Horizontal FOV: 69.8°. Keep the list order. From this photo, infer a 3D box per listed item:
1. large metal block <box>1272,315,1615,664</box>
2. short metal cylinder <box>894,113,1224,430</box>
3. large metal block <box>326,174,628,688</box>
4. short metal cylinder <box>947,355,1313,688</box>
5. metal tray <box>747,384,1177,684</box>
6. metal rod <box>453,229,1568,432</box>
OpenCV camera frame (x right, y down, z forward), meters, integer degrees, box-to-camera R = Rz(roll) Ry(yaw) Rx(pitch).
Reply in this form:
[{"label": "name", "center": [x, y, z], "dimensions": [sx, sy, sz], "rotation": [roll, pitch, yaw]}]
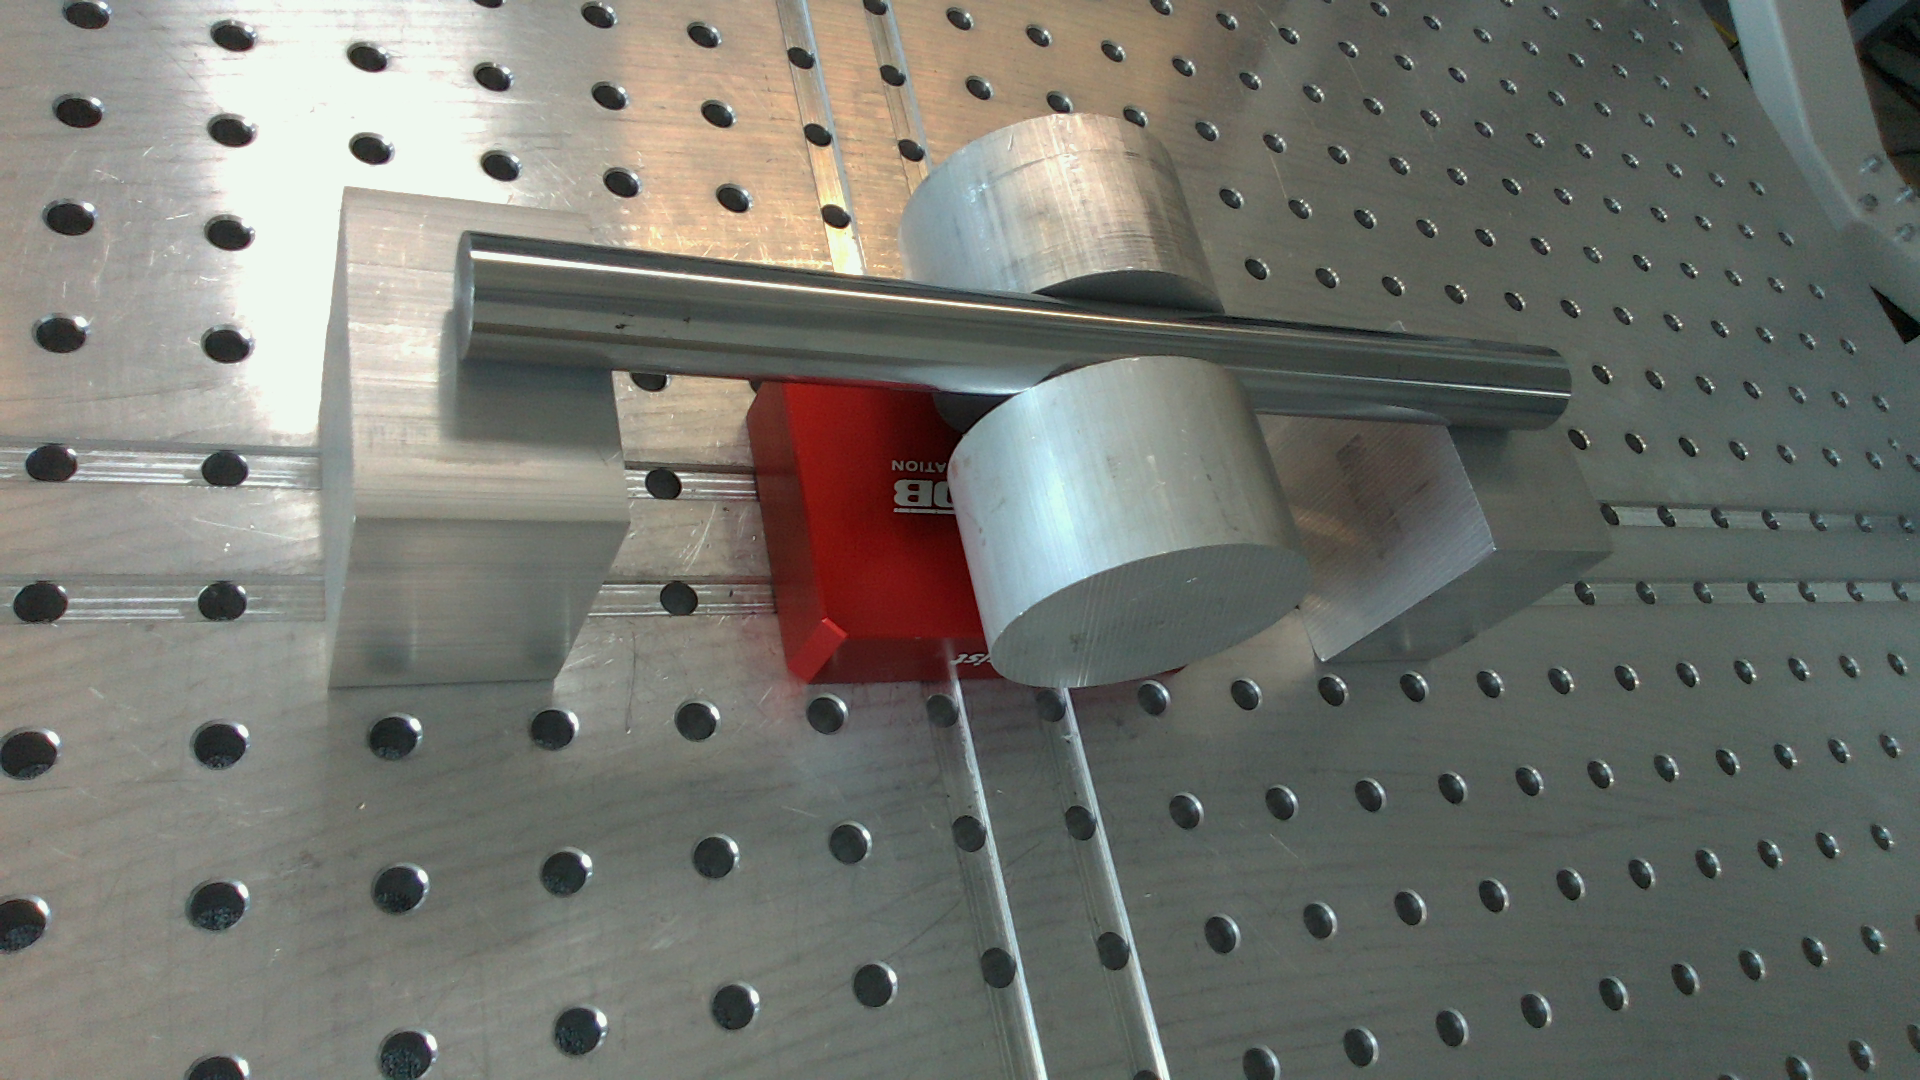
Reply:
[{"label": "large metal block", "center": [0.147, -0.014, 0.443], "dimensions": [0.050, 0.080, 0.080], "rotation": [1, 61, -28]}, {"label": "short metal cylinder", "center": [0.026, -0.068, 0.375], "dimensions": [0.080, 0.080, 0.050], "rotation": [1, 61, -28]}, {"label": "large metal block", "center": [-0.113, -0.021, 0.308], "dimensions": [0.050, 0.080, 0.080], "rotation": [1, 61, -28]}, {"label": "short metal cylinder", "center": [0.041, -0.002, 0.342], "dimensions": [0.080, 0.080, 0.050], "rotation": [1, 61, -28]}, {"label": "metal tray", "center": [0.009, -0.007, 0.399], "dimensions": [0.130, 0.030, 0.090], "rotation": [1, 61, -28]}, {"label": "metal rod", "center": [0.037, -0.046, 0.337], "dimensions": [0.301, 0.025, 0.025], "rotation": [1, 61, -28]}]
